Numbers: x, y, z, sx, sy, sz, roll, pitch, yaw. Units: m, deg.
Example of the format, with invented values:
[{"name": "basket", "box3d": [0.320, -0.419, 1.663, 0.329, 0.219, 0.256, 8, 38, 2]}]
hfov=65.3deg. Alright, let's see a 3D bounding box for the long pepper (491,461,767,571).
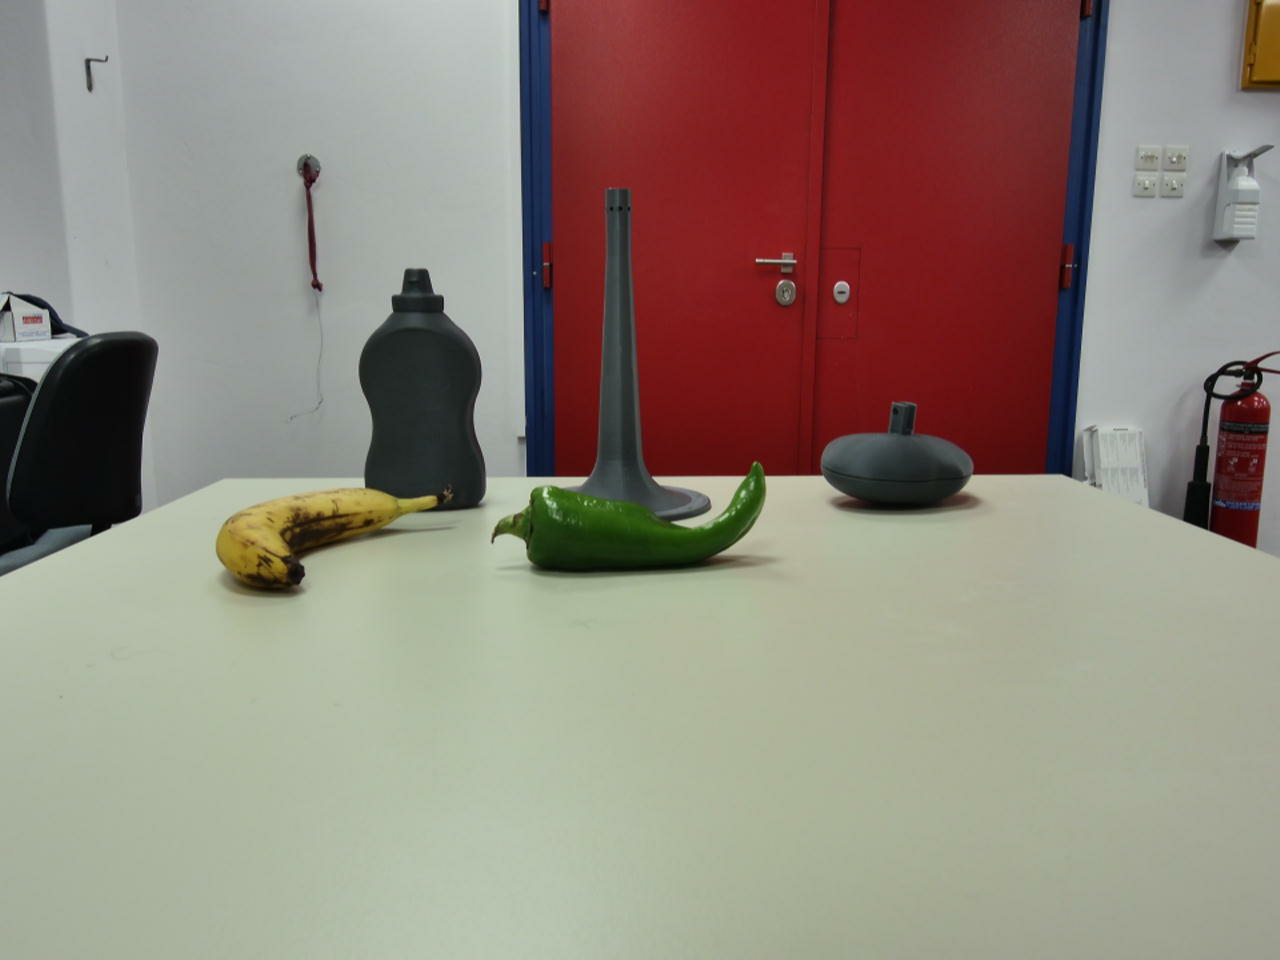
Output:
[{"name": "long pepper", "box3d": [-0.006, 0.023, 0.629, 0.175, 0.065, 0.058, -1, 8, -2]}]
